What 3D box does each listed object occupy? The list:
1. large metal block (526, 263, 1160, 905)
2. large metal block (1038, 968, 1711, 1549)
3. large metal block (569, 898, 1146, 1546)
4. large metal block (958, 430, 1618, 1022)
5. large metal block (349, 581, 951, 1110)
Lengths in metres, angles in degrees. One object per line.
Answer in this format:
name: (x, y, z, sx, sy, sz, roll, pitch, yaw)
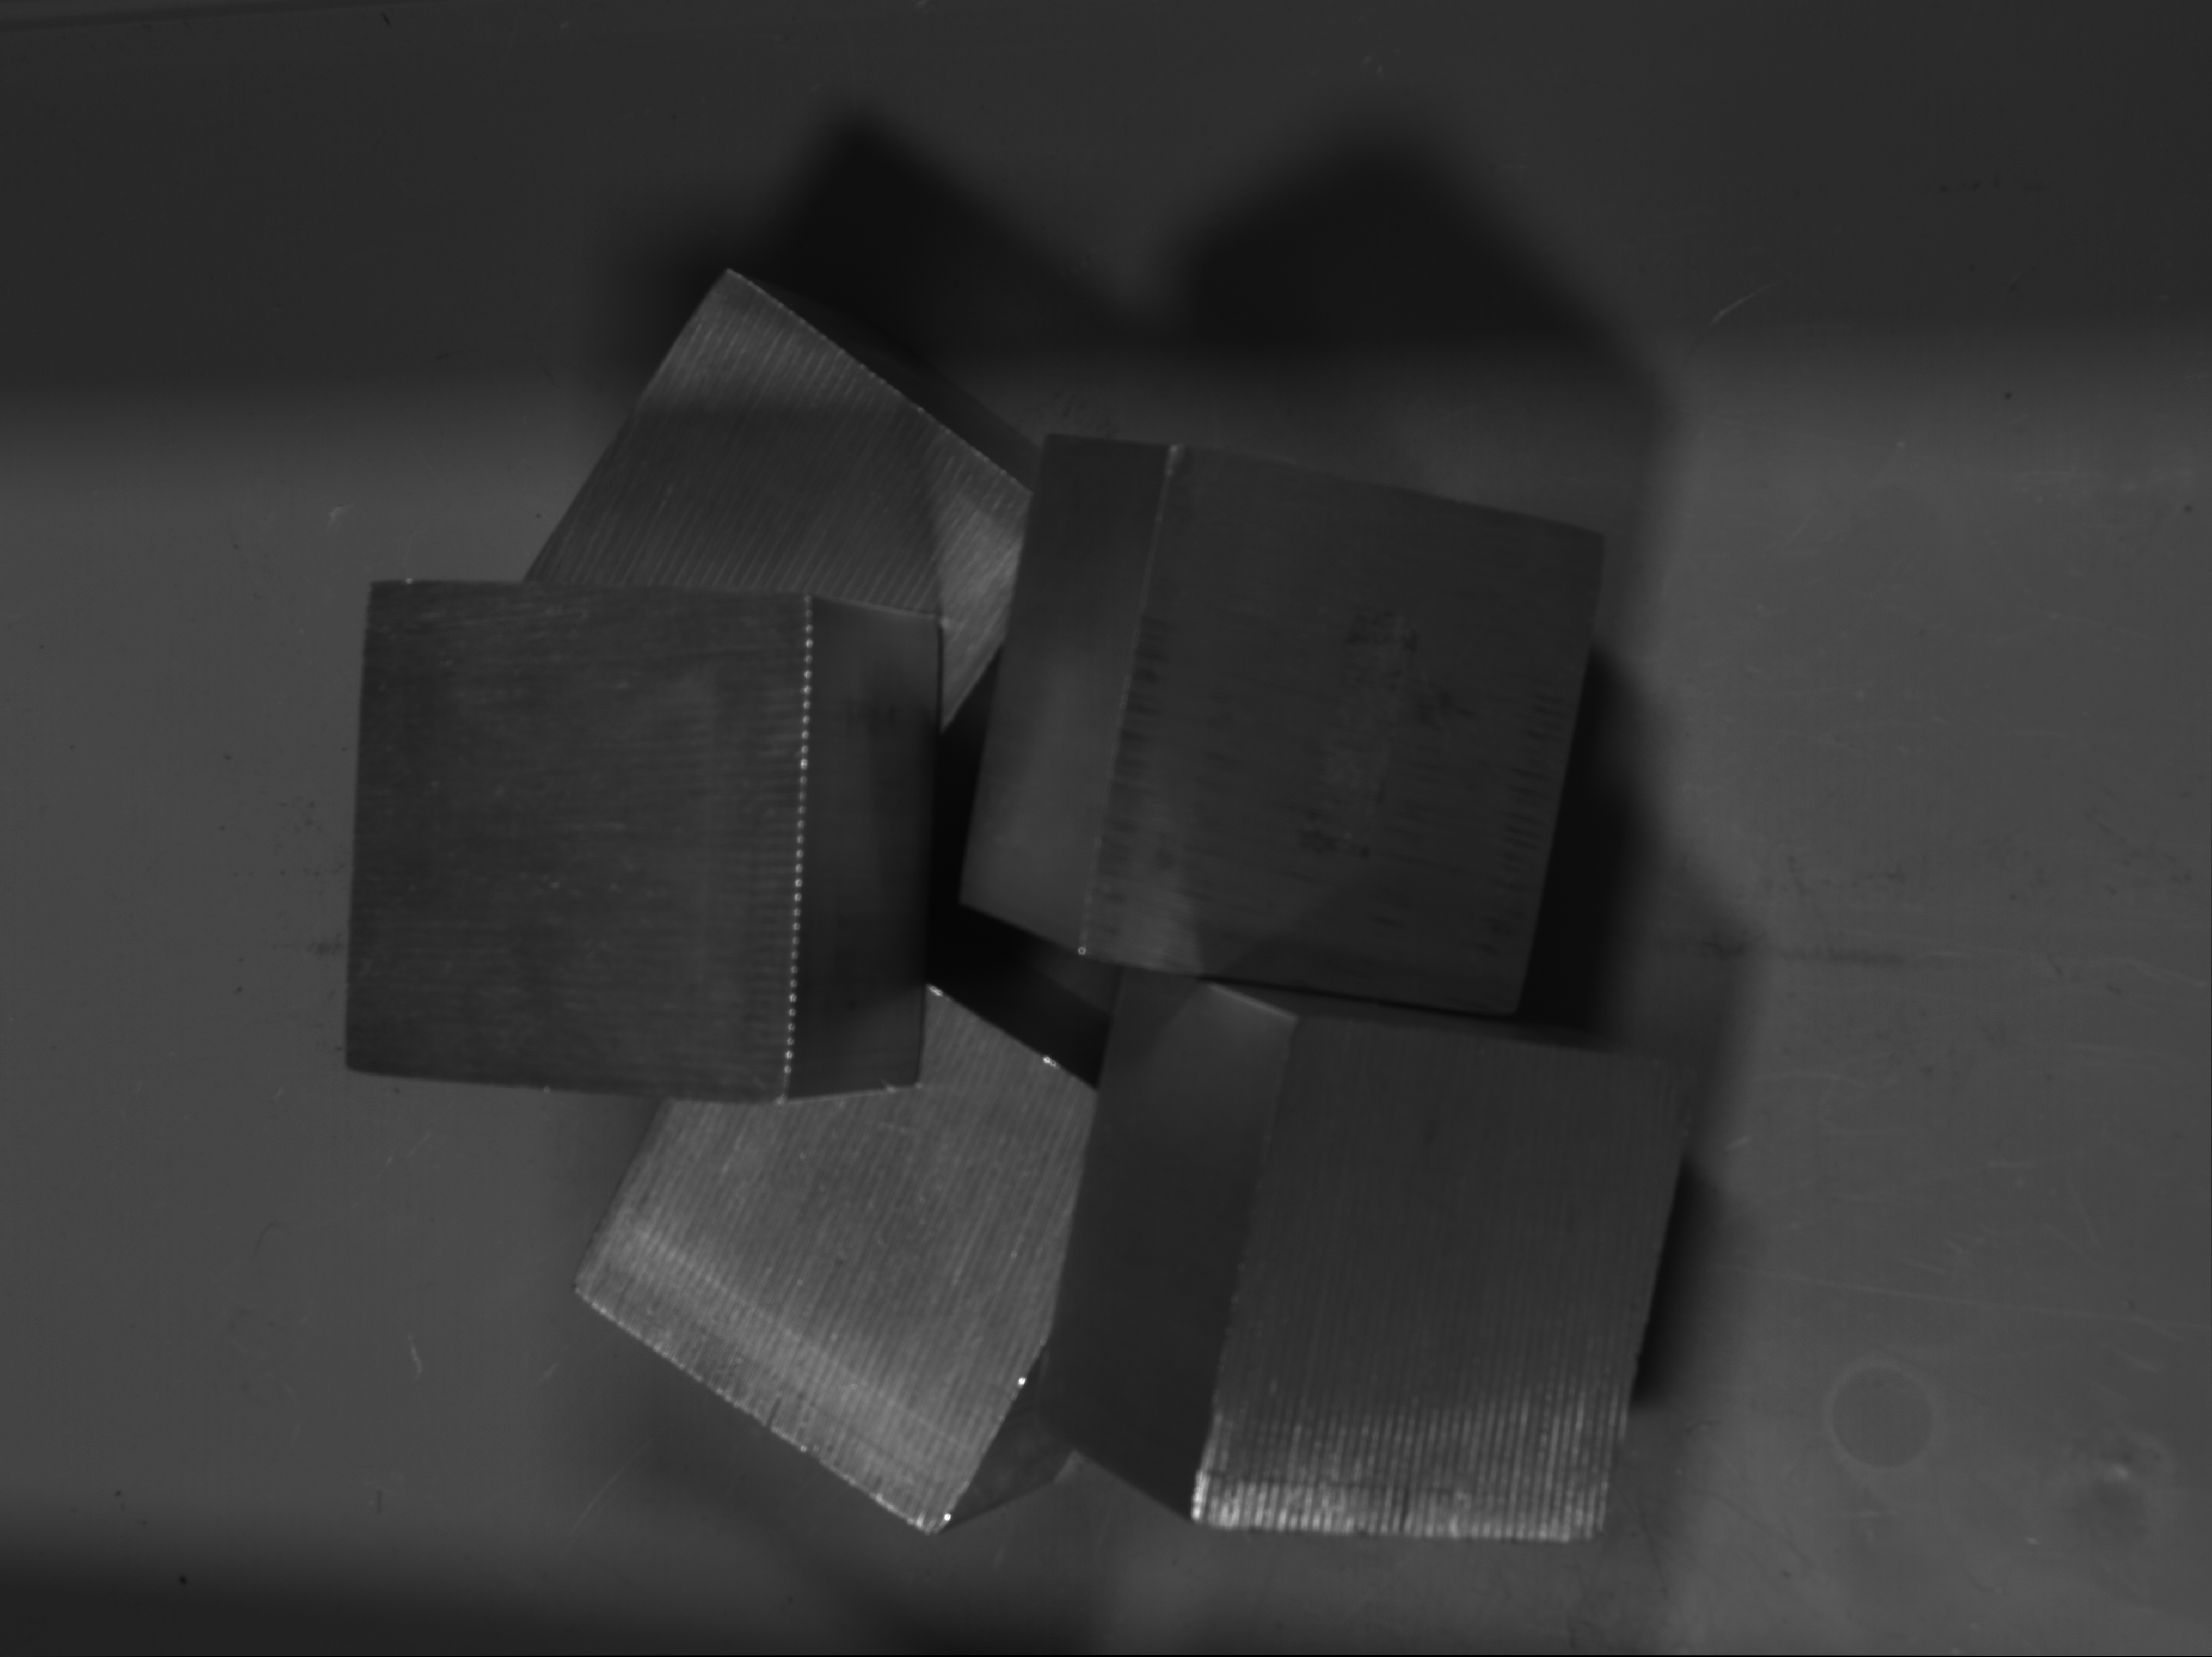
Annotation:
large metal block: (-0.047, -0.041, 0.647, 0.080, 0.050, 0.080, 38, 102, 16)
large metal block: (0.043, 0.068, 0.591, 0.050, 0.080, 0.080, 17, 97, 59)
large metal block: (-0.033, 0.065, 0.638, 0.080, 0.050, 0.080, 31, 100, 17)
large metal block: (0.029, -0.017, 0.597, 0.080, 0.050, 0.080, 9, 94, -26)
large metal block: (-0.074, 0.002, 0.602, 0.080, 0.050, 0.080, 3, 90, 21)
